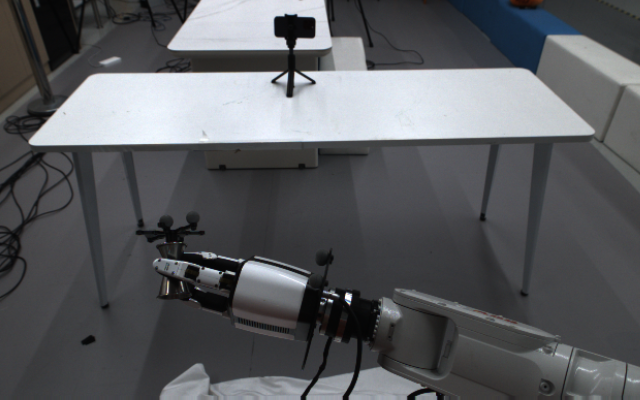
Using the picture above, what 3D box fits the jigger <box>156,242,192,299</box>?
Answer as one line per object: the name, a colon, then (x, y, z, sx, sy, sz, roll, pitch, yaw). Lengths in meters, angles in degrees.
jigger: (-0.190, 0.093, 0.631, 0.043, 0.043, 0.071, -6, 73, -11)
